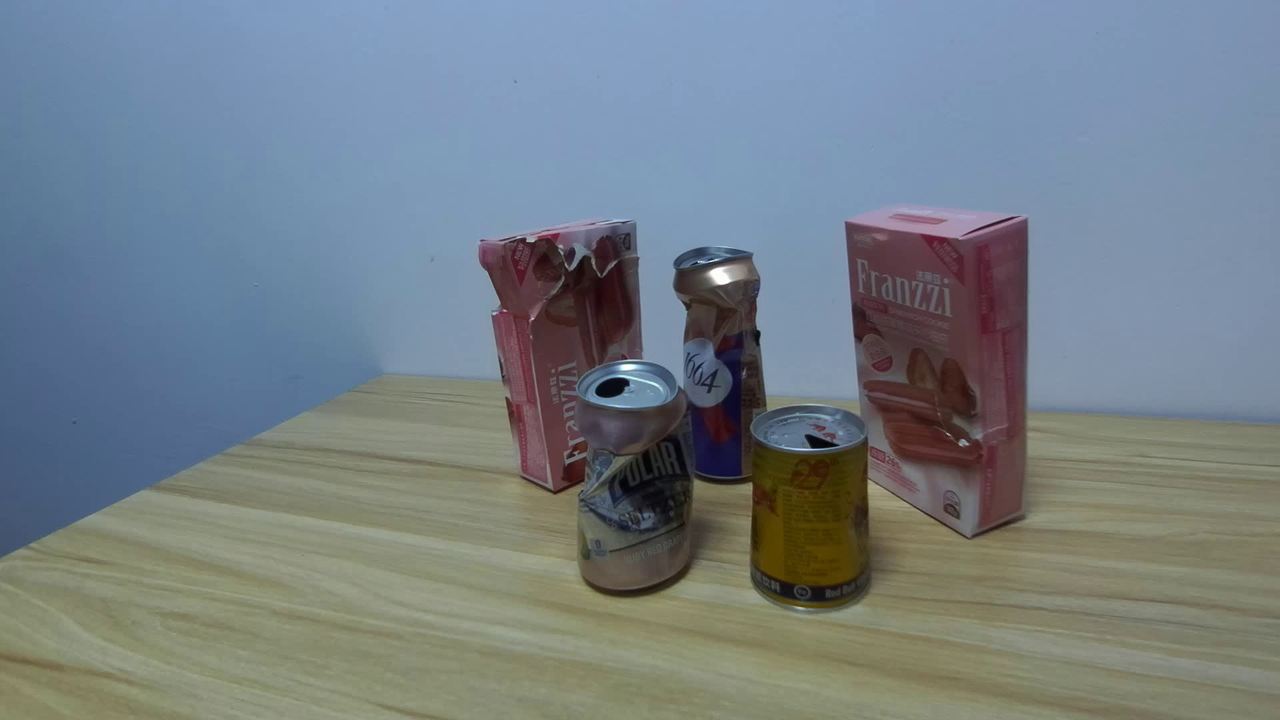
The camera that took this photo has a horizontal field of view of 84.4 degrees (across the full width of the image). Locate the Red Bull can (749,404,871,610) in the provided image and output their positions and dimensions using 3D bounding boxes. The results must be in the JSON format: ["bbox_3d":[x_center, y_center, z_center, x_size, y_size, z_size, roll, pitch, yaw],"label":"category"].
[{"bbox_3d":[0.091,0.077,0.380,0.069,0.092,0.069,-5,19,2],"label":"Red Bull can"}]

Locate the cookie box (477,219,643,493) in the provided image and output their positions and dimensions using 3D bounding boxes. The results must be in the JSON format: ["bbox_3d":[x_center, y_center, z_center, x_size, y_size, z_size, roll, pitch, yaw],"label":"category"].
[{"bbox_3d":[-0.047,-0.005,0.523,0.105,0.186,0.059,-20,22,-34],"label":"cookie box"}]

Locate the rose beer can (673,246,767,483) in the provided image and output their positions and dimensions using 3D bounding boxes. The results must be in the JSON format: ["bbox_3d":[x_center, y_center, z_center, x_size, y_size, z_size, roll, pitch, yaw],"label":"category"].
[{"bbox_3d":[0.058,0.003,0.504,0.073,0.162,0.068,4,19,32],"label":"rose beer can"}]

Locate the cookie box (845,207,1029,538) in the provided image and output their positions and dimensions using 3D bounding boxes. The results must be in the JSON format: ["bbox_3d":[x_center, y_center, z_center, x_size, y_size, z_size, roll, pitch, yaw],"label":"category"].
[{"bbox_3d":[0.182,0.007,0.429,0.049,0.188,0.105,-18,21,-18],"label":"cookie box"}]

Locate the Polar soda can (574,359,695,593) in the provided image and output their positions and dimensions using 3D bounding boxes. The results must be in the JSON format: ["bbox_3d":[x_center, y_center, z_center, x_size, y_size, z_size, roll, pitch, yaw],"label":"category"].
[{"bbox_3d":[-0.004,0.068,0.396,0.066,0.122,0.071,3,19,11],"label":"Polar soda can"}]
